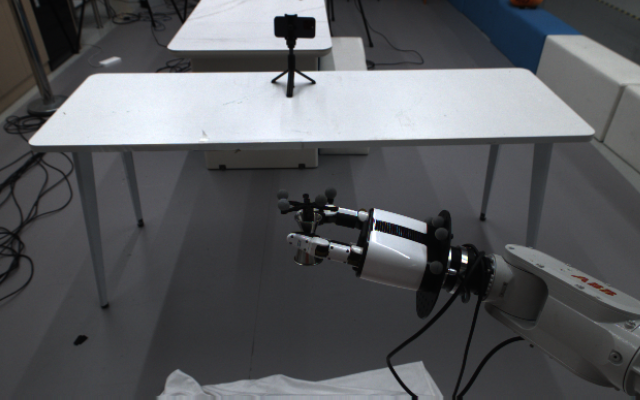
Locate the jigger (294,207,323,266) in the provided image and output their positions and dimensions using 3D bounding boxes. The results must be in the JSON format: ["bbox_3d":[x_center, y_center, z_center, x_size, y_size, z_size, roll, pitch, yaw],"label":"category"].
[{"bbox_3d":[-0.017,0.055,0.700,0.043,0.071,0.043,0,21,0],"label":"jigger"}]
